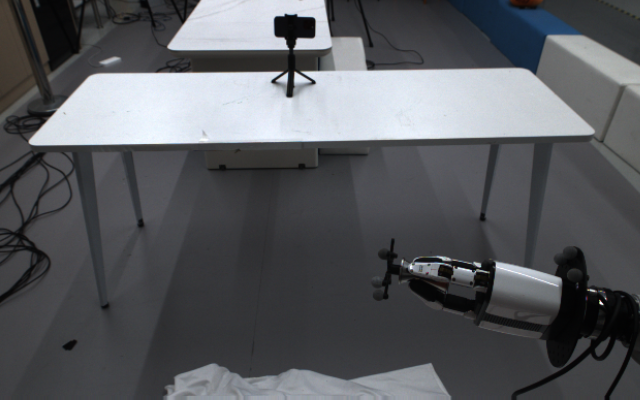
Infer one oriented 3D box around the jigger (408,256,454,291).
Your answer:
[{"bbox_3d":[0.155,0.101,0.685,0.071,0.043,0.043,8,35,15],"label":"jigger"}]
